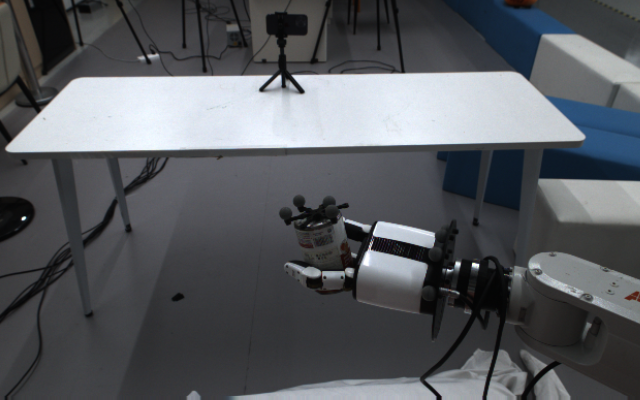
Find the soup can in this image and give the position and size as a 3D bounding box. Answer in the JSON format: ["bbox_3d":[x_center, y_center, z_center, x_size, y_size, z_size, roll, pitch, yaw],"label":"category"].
[{"bbox_3d":[0.010,0.069,0.661,0.067,0.101,0.067,-13,20,5],"label":"soup can"}]
